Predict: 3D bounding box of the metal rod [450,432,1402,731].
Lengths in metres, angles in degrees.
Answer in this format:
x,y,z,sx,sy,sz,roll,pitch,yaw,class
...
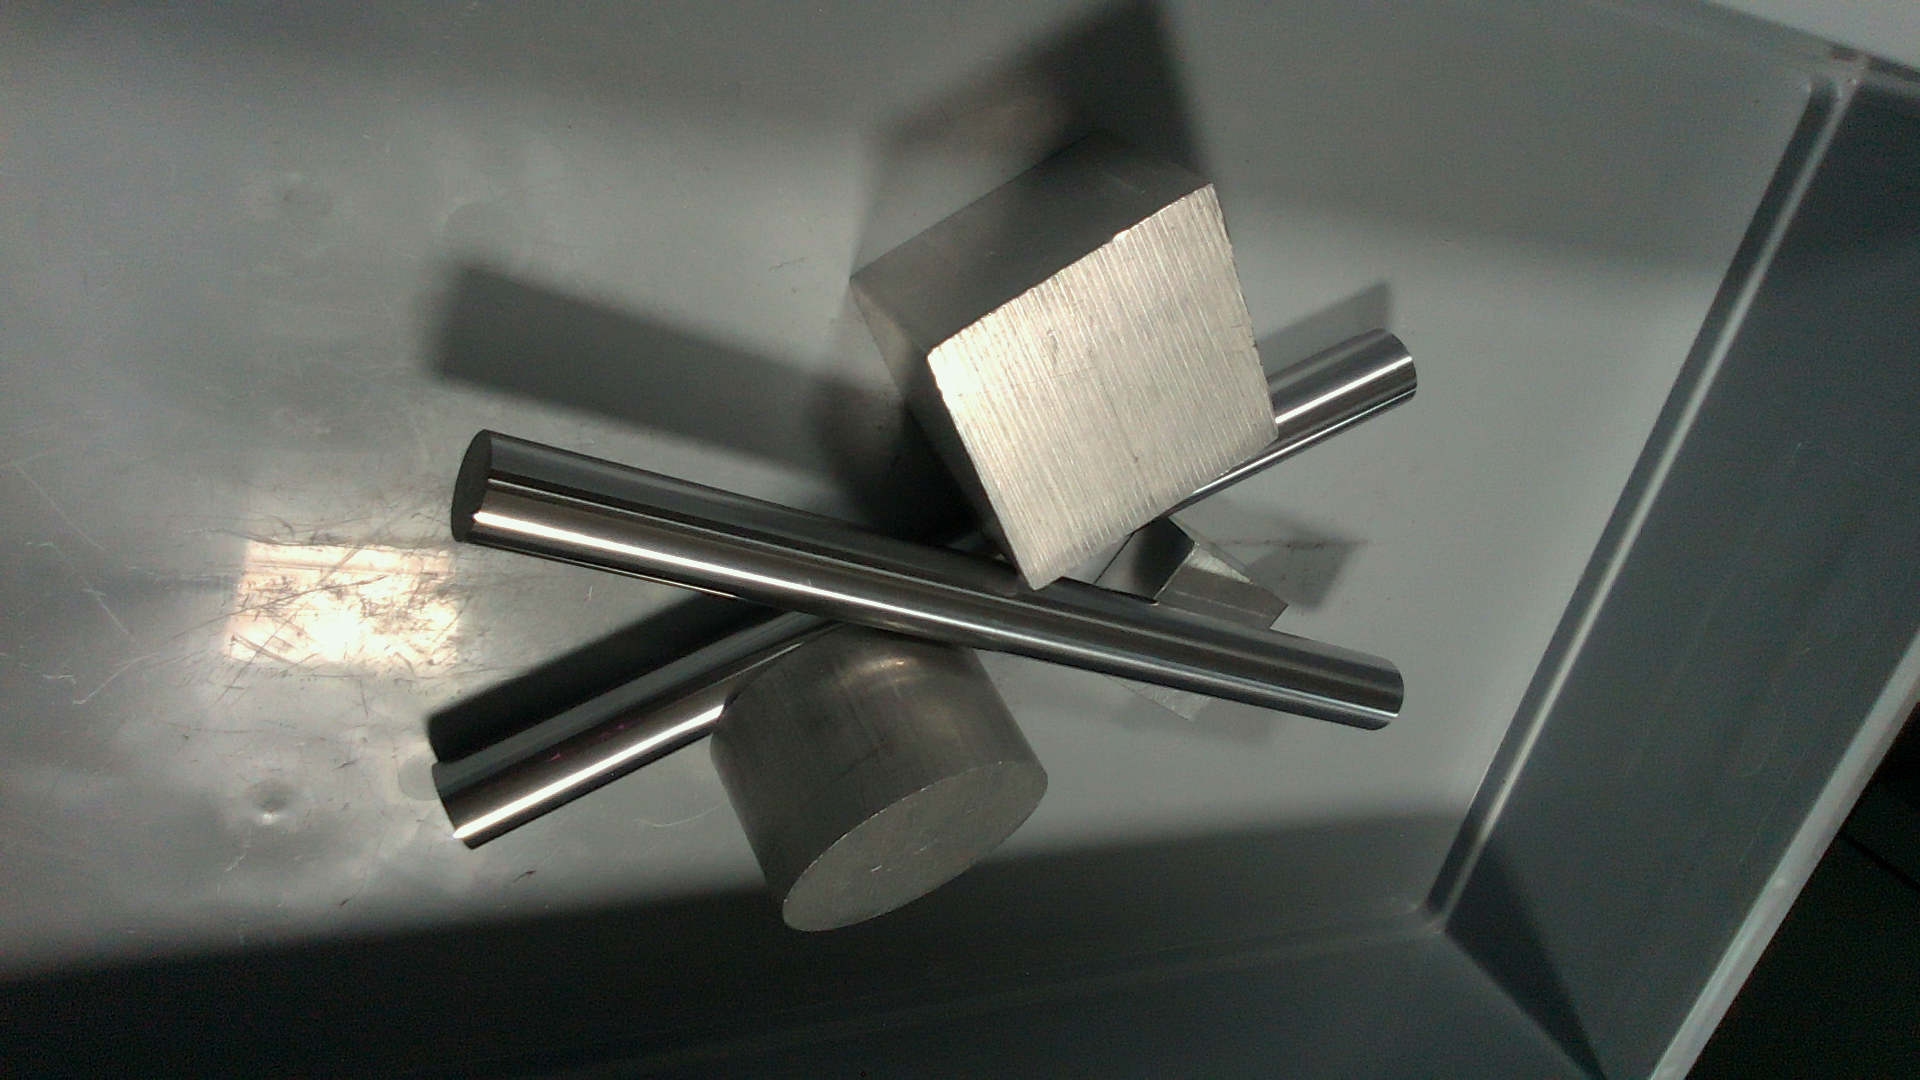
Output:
x,y,z,sx,sy,sz,roll,pitch,yaw,class
0.017,0.020,0.377,0.301,0.025,0.025,14,111,-34,metal rod

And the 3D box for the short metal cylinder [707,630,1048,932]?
x,y,z,sx,sy,sz,roll,pitch,yaw,class
-0.023,0.065,0.381,0.080,0.050,0.080,-25,152,-14,short metal cylinder

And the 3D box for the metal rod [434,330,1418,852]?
x,y,z,sx,sy,sz,roll,pitch,yaw,class
0.001,0.008,0.393,0.300,0.025,0.025,-25,127,-13,metal rod

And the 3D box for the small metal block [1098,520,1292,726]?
x,y,z,sx,sy,sz,roll,pitch,yaw,class
0.069,0.025,0.438,0.050,0.025,0.050,30,102,-38,small metal block

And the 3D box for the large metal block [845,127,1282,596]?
x,y,z,sx,sy,sz,roll,pitch,yaw,class
0.029,-0.047,0.358,0.080,0.050,0.080,-32,129,-8,large metal block
